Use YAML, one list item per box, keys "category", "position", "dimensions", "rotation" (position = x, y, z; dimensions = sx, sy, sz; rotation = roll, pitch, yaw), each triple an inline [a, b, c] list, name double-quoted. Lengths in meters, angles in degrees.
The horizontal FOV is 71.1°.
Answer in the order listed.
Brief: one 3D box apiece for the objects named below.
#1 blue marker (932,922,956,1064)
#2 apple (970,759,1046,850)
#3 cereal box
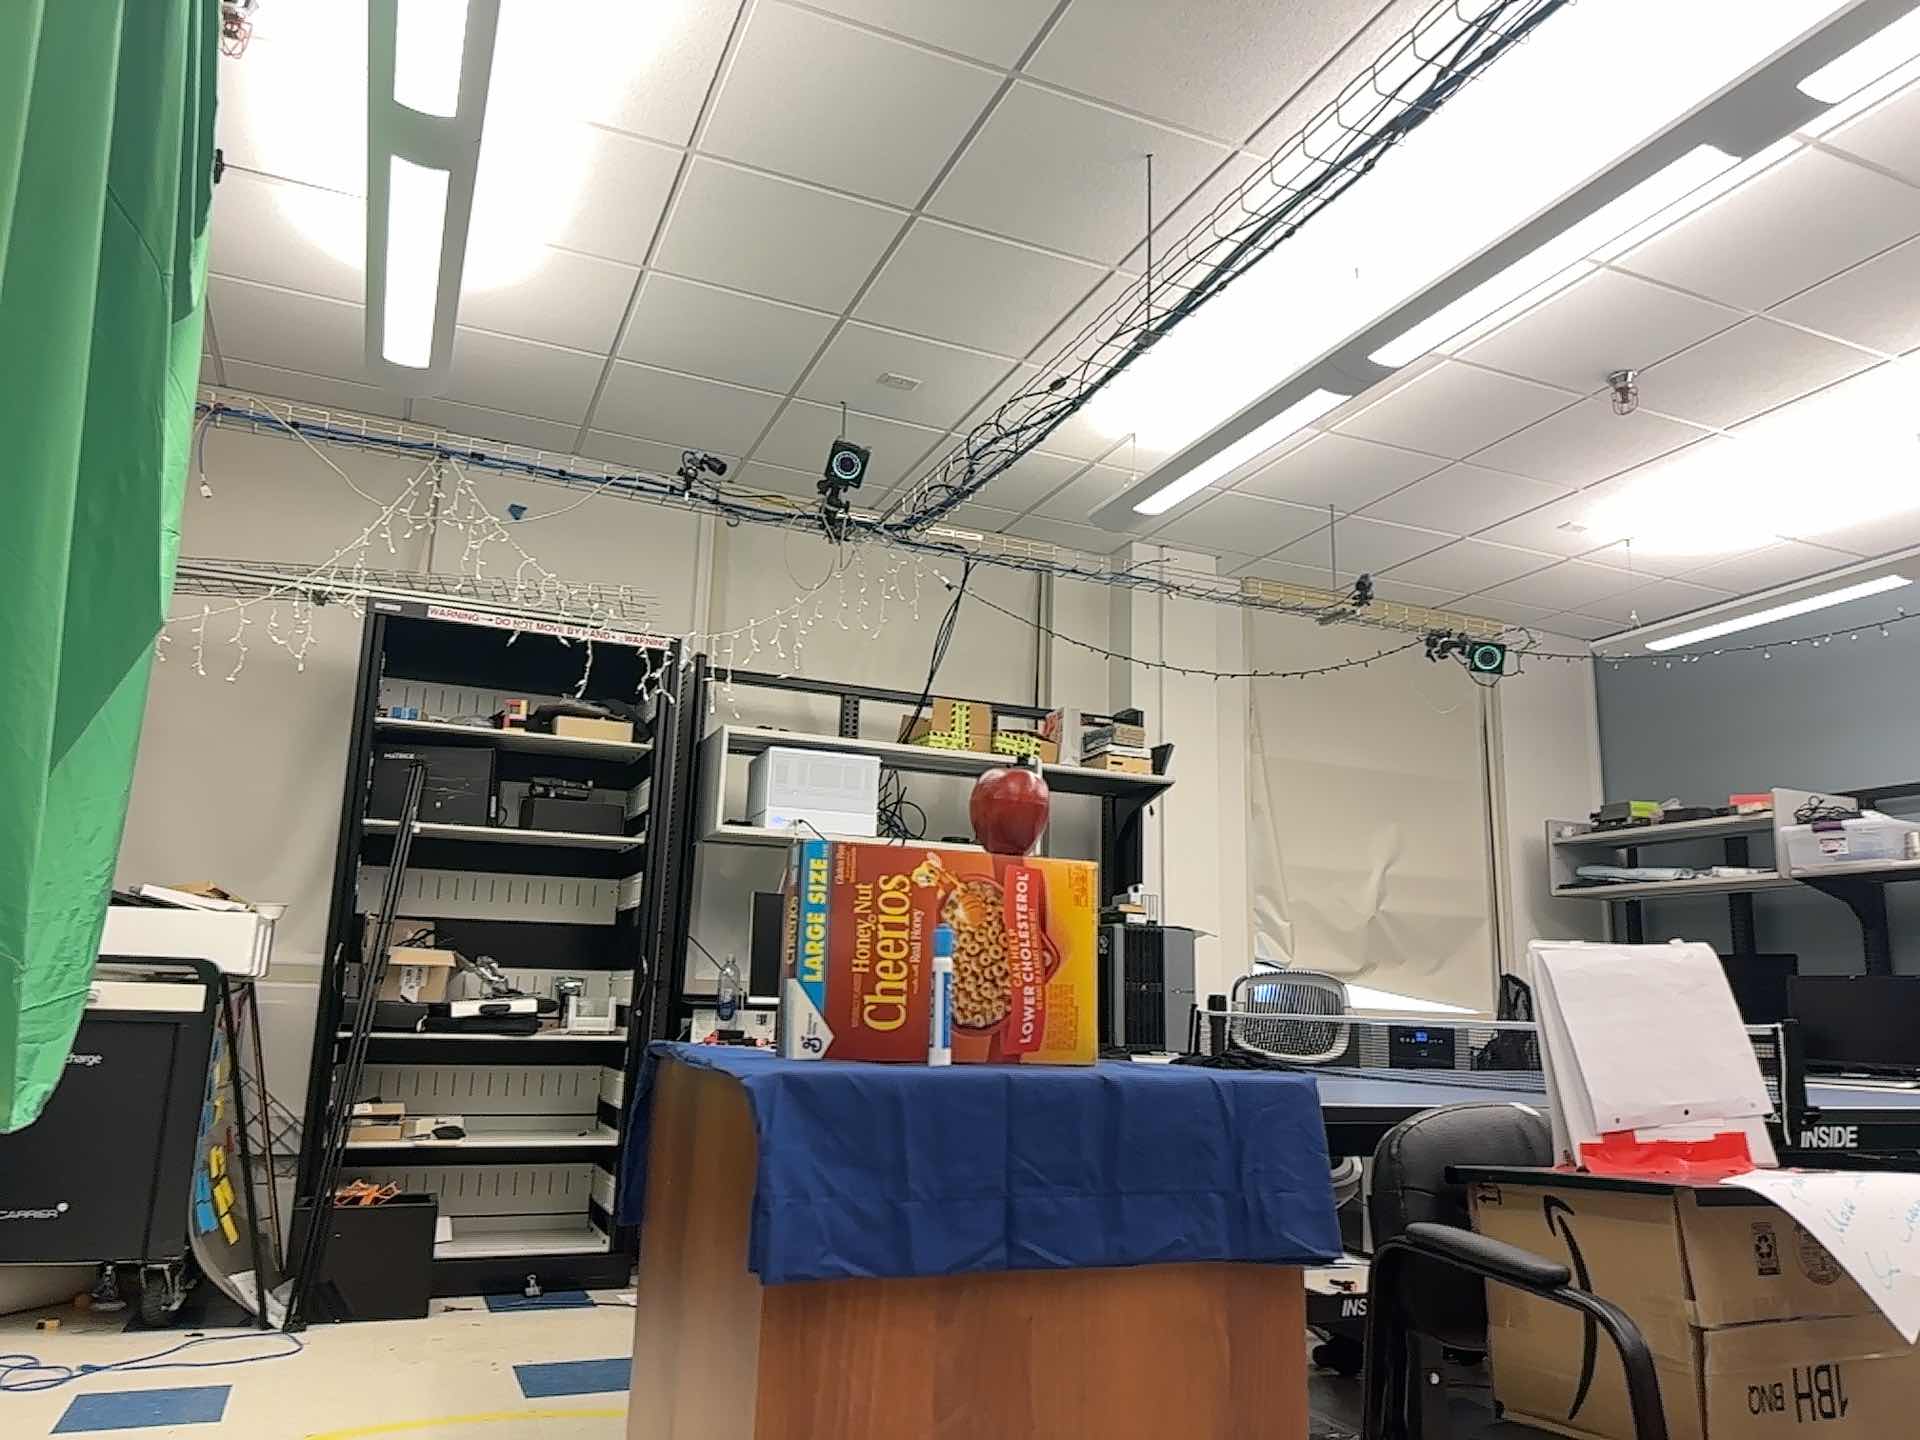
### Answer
- category: "blue marker"
  position: [-0.014, 0.236, 1.167]
  dimensions: [0.020, 0.121, 0.020]
  rotation: [0, -14, 0]
- category: "apple"
  position: [0.048, 0.085, 1.332]
  dimensions: [0.079, 0.093, 0.079]
  rotation: [3, -13, 1]
- category: "cereal box"
  position: [-0.014, 0.220, 1.272]
  dimensions: [0.297, 0.195, 0.065]
  rotation: [8, -16, -24]
